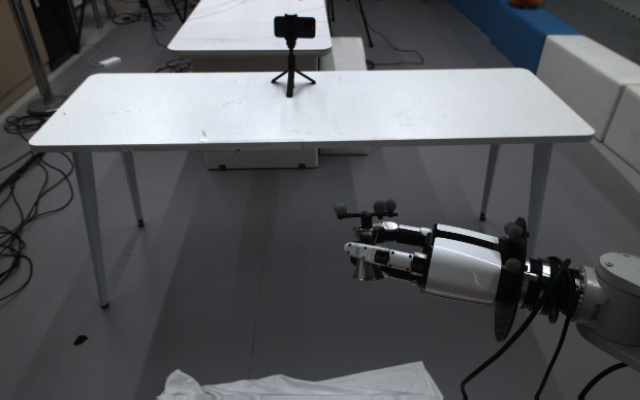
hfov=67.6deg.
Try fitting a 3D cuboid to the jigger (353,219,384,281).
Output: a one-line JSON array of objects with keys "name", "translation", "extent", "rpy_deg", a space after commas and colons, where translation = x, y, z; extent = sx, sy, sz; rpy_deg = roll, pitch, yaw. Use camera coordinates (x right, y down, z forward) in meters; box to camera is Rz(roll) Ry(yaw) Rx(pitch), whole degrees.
[{"name": "jigger", "translation": [0.063, 0.070, 0.652], "extent": [0.043, 0.071, 0.043], "rpy_deg": [-2, 3, 0]}]
